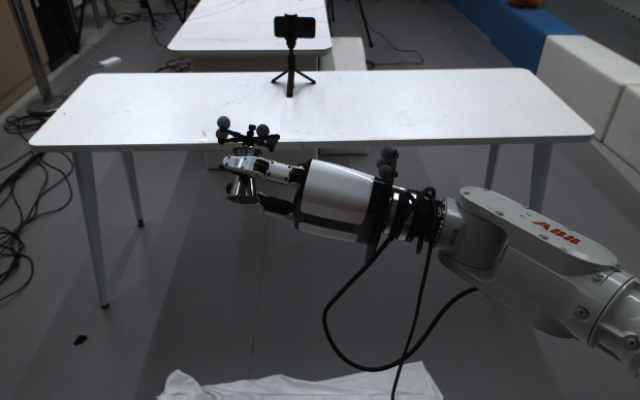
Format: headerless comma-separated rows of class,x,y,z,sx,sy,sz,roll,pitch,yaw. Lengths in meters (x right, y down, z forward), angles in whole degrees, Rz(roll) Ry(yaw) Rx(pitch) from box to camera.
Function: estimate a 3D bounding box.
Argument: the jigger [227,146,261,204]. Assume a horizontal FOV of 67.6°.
jigger,-0.099,-0.034,0.636,0.043,0.043,0.071,2,76,1
